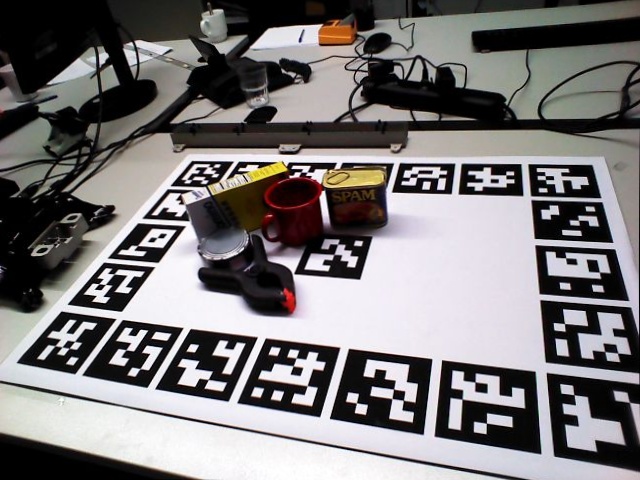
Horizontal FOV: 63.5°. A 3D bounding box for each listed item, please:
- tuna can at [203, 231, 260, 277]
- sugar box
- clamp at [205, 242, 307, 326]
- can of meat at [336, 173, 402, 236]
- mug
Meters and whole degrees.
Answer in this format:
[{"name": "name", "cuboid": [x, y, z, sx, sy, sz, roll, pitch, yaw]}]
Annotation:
[{"name": "tuna can", "cuboid": [-0.136, 0.026, 0.805, 0.086, 0.034, 0.085, -7, 40, 6]}, {"name": "sugar box", "cuboid": [-0.114, -0.046, 0.854, 0.176, 0.093, 0.045, -20, 37, -13]}, {"name": "clamp", "cuboid": [-0.075, 0.069, 0.745, 0.121, 0.037, 0.165, -29, 45, -29]}, {"name": "can of meat", "cuboid": [0.081, -0.055, 0.824, 0.102, 0.084, 0.057, -1, 38, 10]}, {"name": "mug", "cuboid": [-0.030, -0.034, 0.813, 0.094, 0.081, 0.116, 23, 51, 35]}]
